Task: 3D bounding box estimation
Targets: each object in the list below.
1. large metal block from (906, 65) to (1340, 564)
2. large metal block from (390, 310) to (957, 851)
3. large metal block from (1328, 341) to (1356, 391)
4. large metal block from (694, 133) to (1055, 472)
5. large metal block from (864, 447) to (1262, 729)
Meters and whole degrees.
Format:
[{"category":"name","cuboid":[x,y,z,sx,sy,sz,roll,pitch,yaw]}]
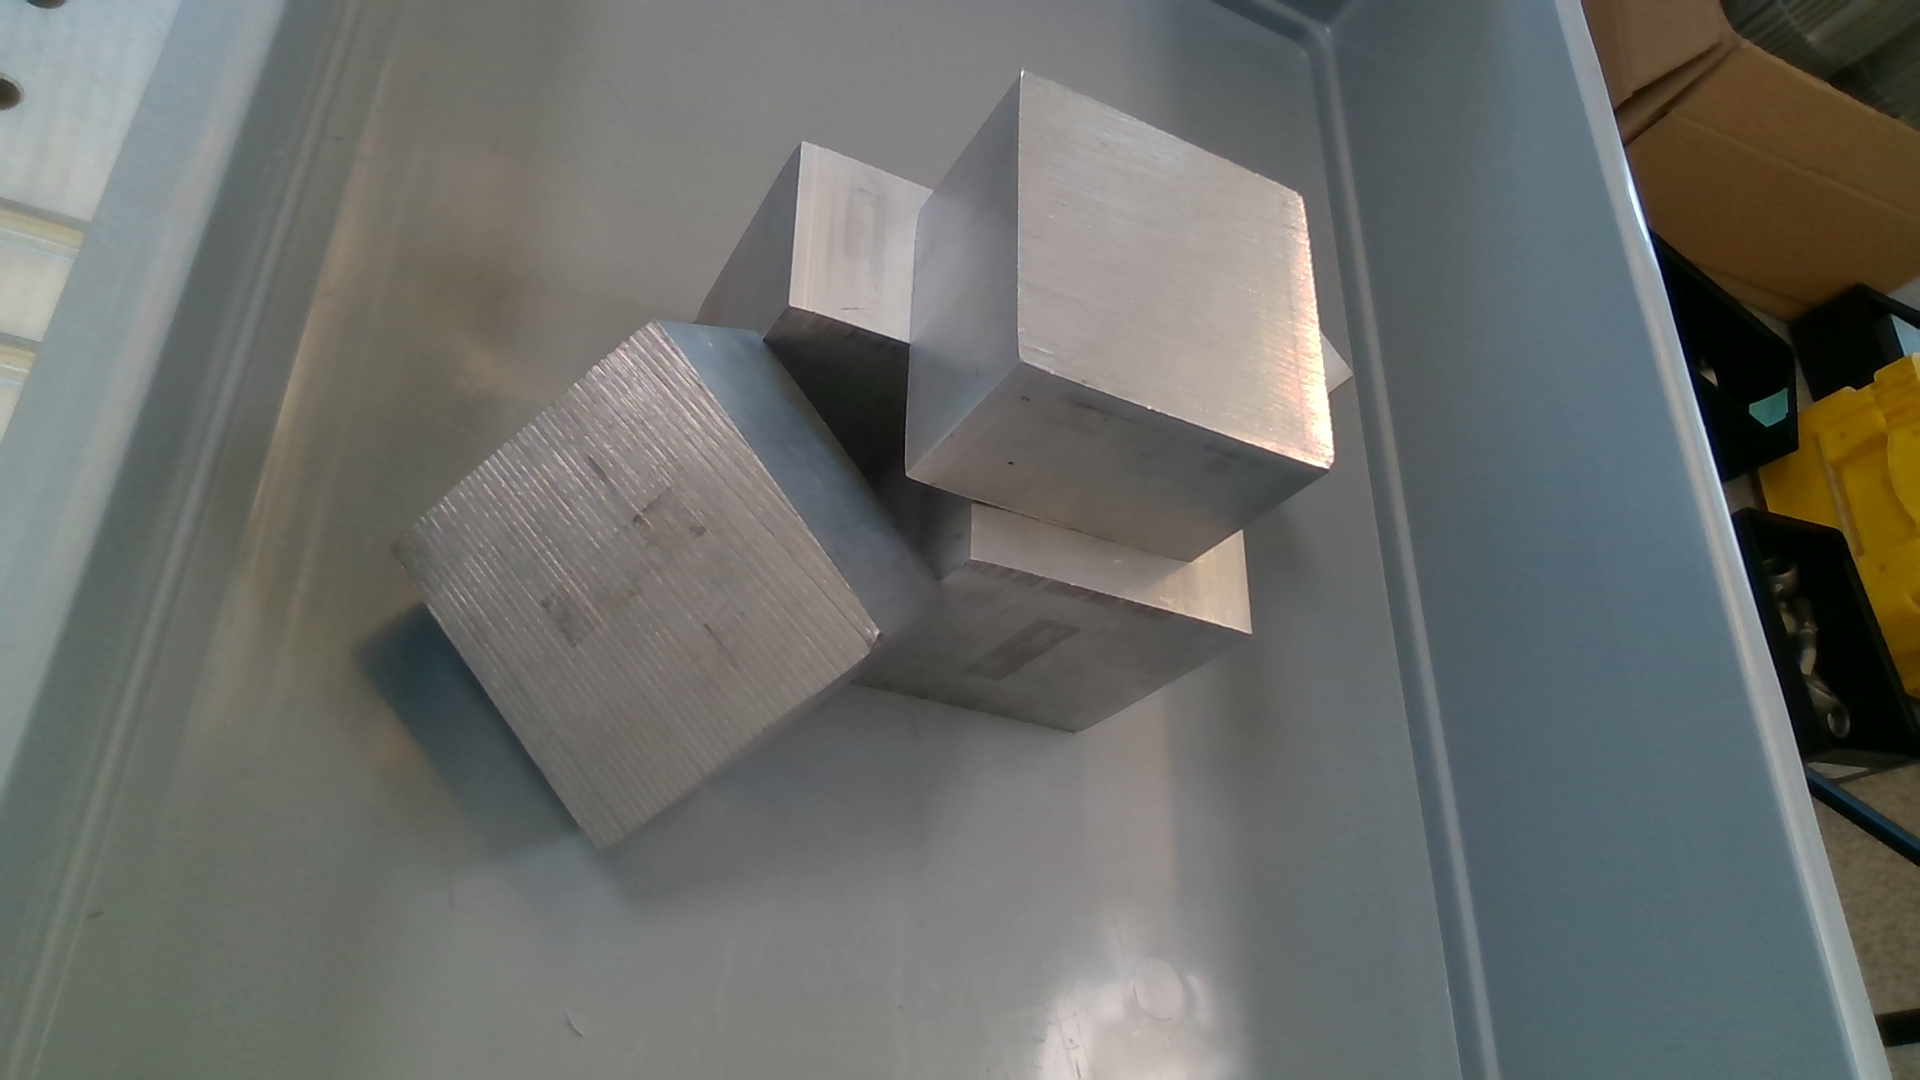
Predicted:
[{"category":"large metal block","cuboid":[0.036,-0.049,0.320,0.080,0.050,0.080,16,58,-24]},{"category":"large metal block","cuboid":[-0.061,0.007,0.305,0.080,0.080,0.050,54,16,4]},{"category":"large metal block","cuboid":[0.064,-0.058,0.417,0.050,0.080,0.080,-37,87,-4]},{"category":"large metal block","cuboid":[-0.024,-0.050,0.369,0.080,0.080,0.050,15,58,-25]},{"category":"large metal block","cuboid":[0.020,0.007,0.364,0.080,0.080,0.050,15,58,-25]}]
